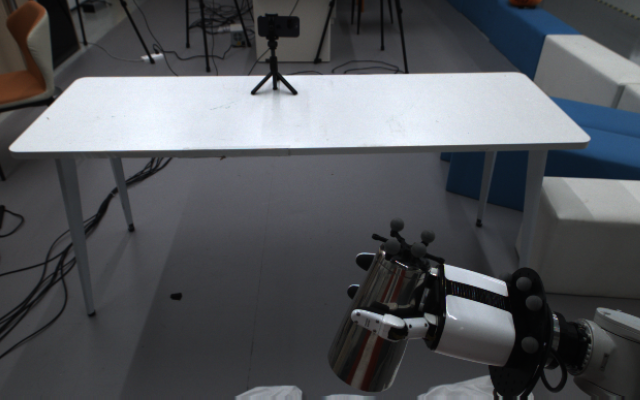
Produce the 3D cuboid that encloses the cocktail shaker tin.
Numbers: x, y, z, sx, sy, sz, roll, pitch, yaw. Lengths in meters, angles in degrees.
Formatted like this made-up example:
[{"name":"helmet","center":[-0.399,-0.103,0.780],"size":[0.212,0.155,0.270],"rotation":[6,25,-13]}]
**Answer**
[{"name":"cocktail shaker tin","center":[0.080,0.140,0.603],"size":[0.093,0.170,0.093],"rotation":[15,21,-6]}]
